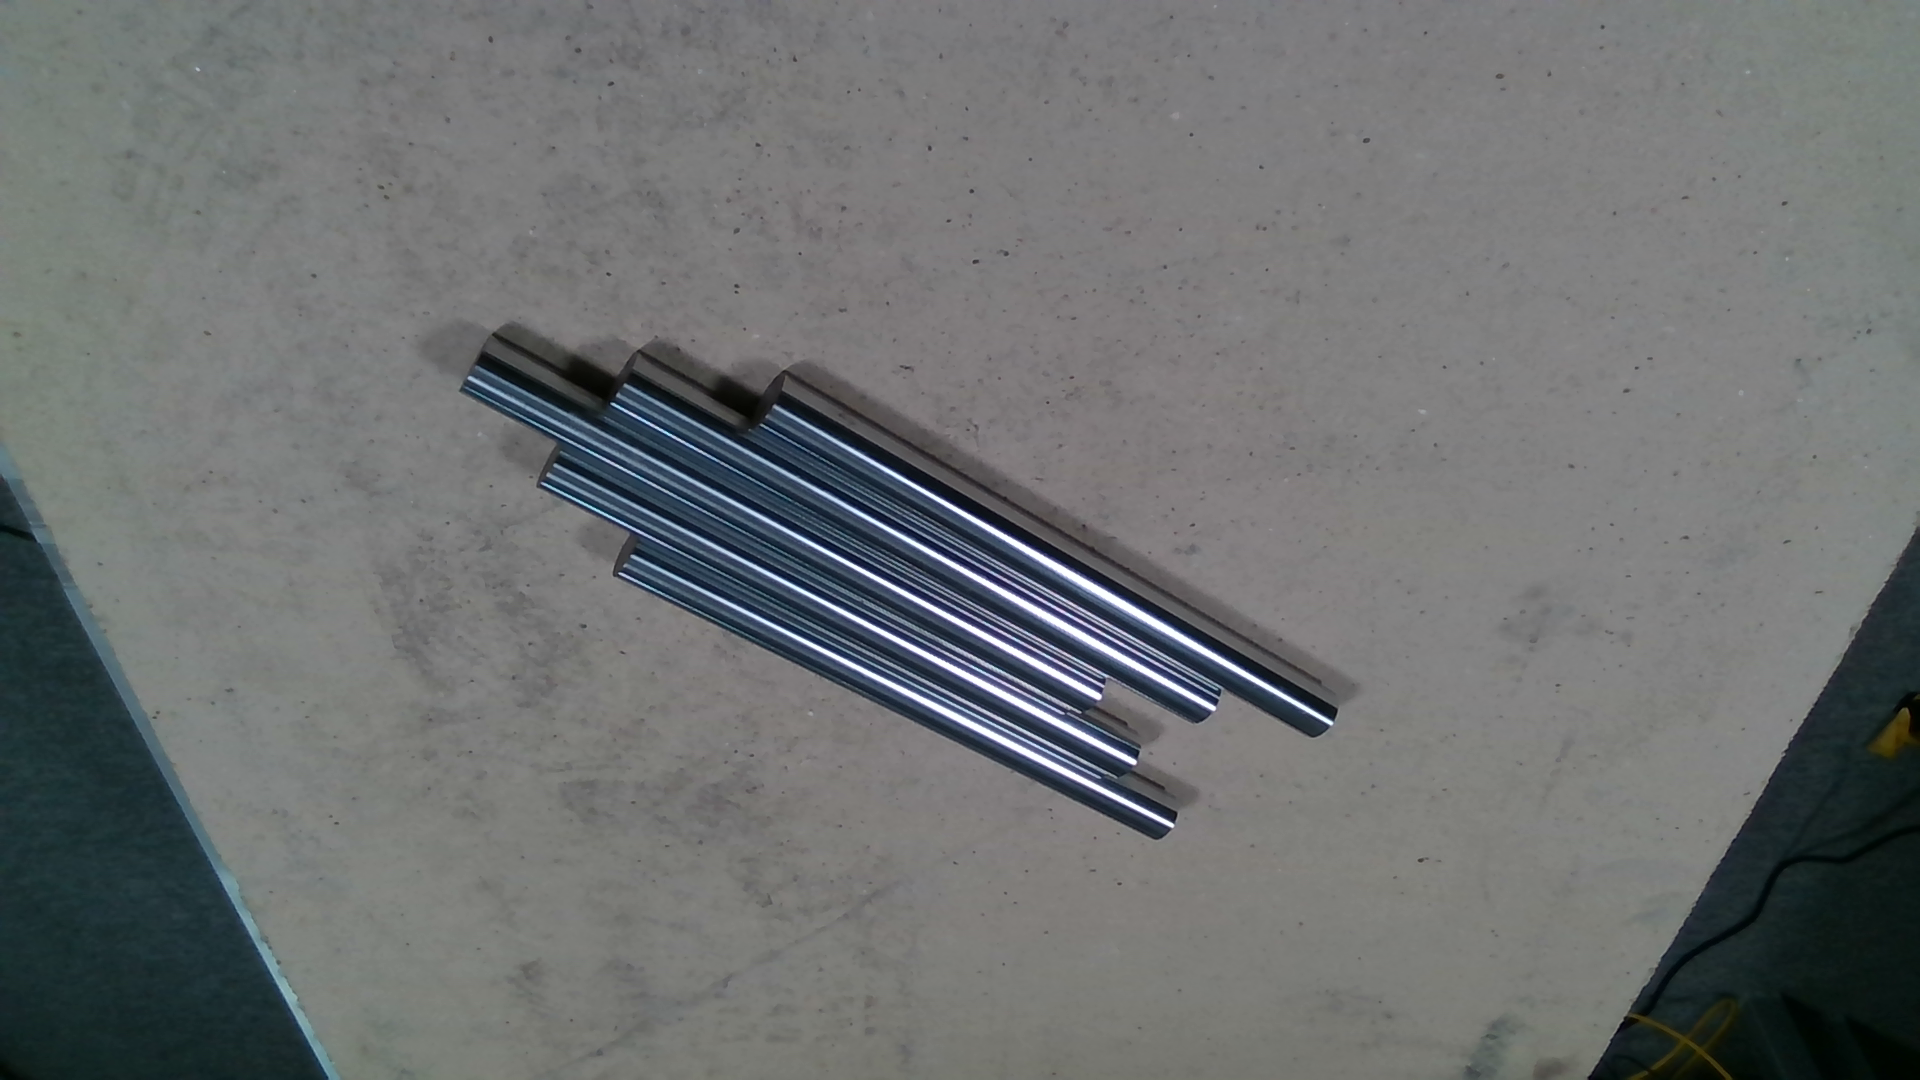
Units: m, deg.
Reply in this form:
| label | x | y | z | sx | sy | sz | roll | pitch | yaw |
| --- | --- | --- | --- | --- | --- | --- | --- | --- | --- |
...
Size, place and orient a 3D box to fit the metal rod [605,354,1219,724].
| label | x | y | z | sx | sy | sz | roll | pitch | yaw |
| --- | --- | --- | --- | --- | --- | --- | --- | --- | --- |
| metal rod | -0.009 | 0.007 | 0.585 | 0.300 | 0.025 | 0.025 | 29 | 124 | -22 |

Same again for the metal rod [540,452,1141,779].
| label | x | y | z | sx | sy | sz | roll | pitch | yaw |
| --- | --- | --- | --- | --- | --- | --- | --- | --- | --- |
| metal rod | -0.042 | 0.036 | 0.609 | 0.300 | 0.025 | 0.025 | 29 | 124 | -22 |

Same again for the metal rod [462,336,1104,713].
| label | x | y | z | sx | sy | sz | roll | pitch | yaw |
| --- | --- | --- | --- | --- | --- | --- | --- | --- | --- |
| metal rod | -0.062 | 0.001 | 0.580 | 0.300 | 0.025 | 0.025 | 29 | 124 | -22 |

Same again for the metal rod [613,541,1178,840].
| label | x | y | z | sx | sy | sz | roll | pitch | yaw |
| --- | --- | --- | --- | --- | --- | --- | --- | --- | --- |
| metal rod | -0.020 | 0.072 | 0.639 | 0.300 | 0.025 | 0.025 | 29 | 124 | -22 |

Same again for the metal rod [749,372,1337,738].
| label | x | y | z | sx | sy | sz | roll | pitch | yaw |
| --- | --- | --- | --- | --- | --- | --- | --- | --- | --- |
| metal rod | 0.046 | 0.013 | 0.590 | 0.300 | 0.025 | 0.025 | 29 | 124 | -22 |
